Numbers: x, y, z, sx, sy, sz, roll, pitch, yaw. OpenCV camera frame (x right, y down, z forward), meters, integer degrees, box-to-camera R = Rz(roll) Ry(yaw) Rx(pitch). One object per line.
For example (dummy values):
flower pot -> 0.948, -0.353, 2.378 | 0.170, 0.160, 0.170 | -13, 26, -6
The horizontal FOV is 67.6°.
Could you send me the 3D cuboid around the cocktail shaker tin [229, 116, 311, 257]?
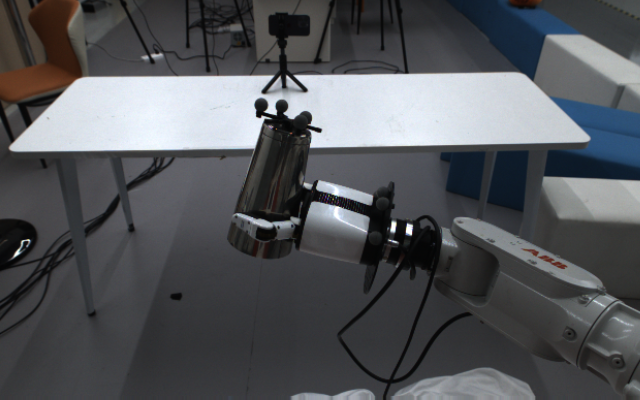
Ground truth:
cocktail shaker tin -> -0.064, -0.017, 0.655 | 0.093, 0.170, 0.093 | 14, 20, -5
